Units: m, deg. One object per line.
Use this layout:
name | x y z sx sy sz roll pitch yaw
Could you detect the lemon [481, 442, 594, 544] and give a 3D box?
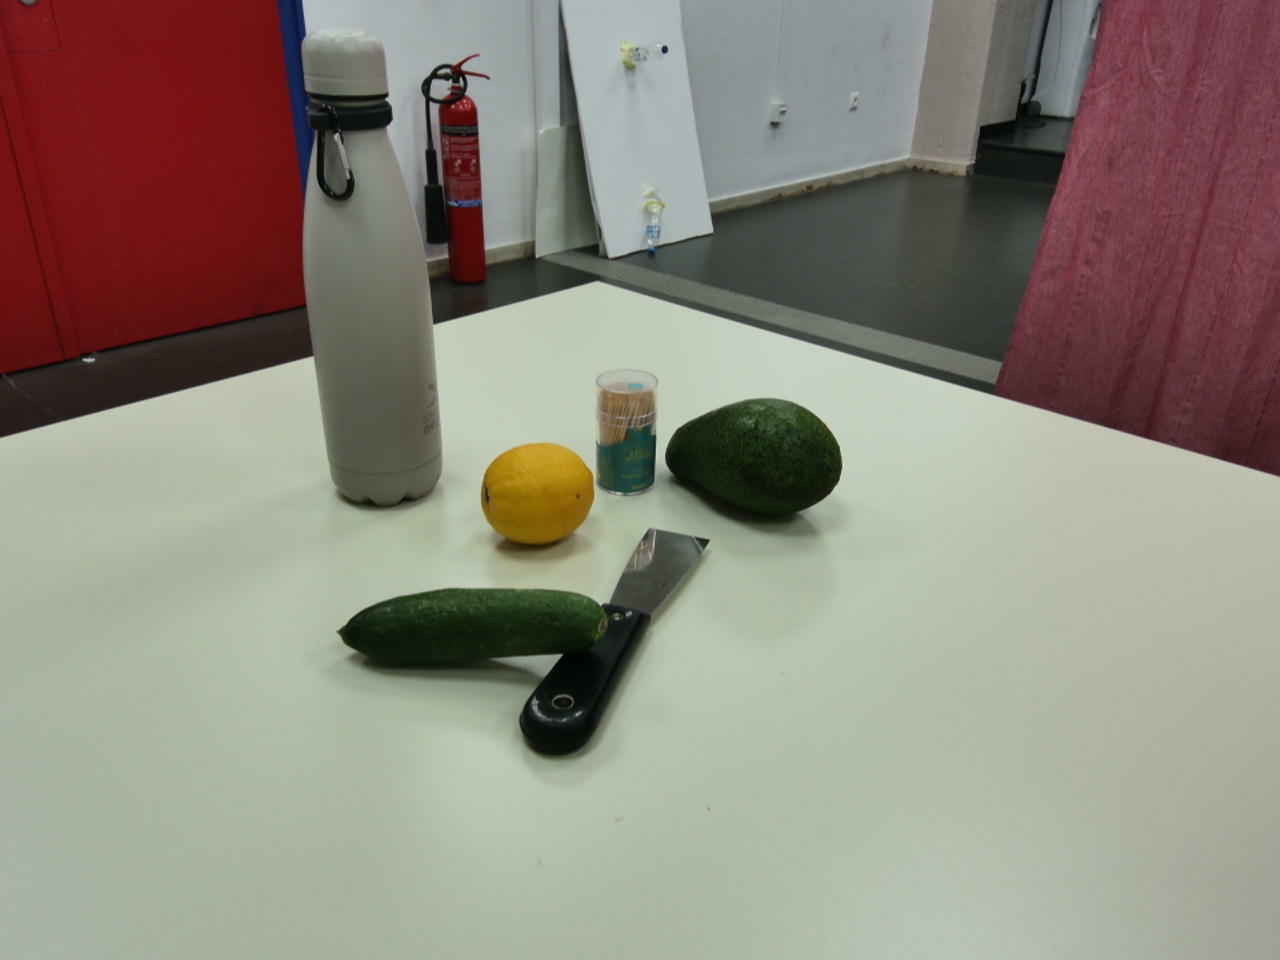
lemon | -0.060 0.008 0.590 0.067 0.059 0.060 -2 26 -5
